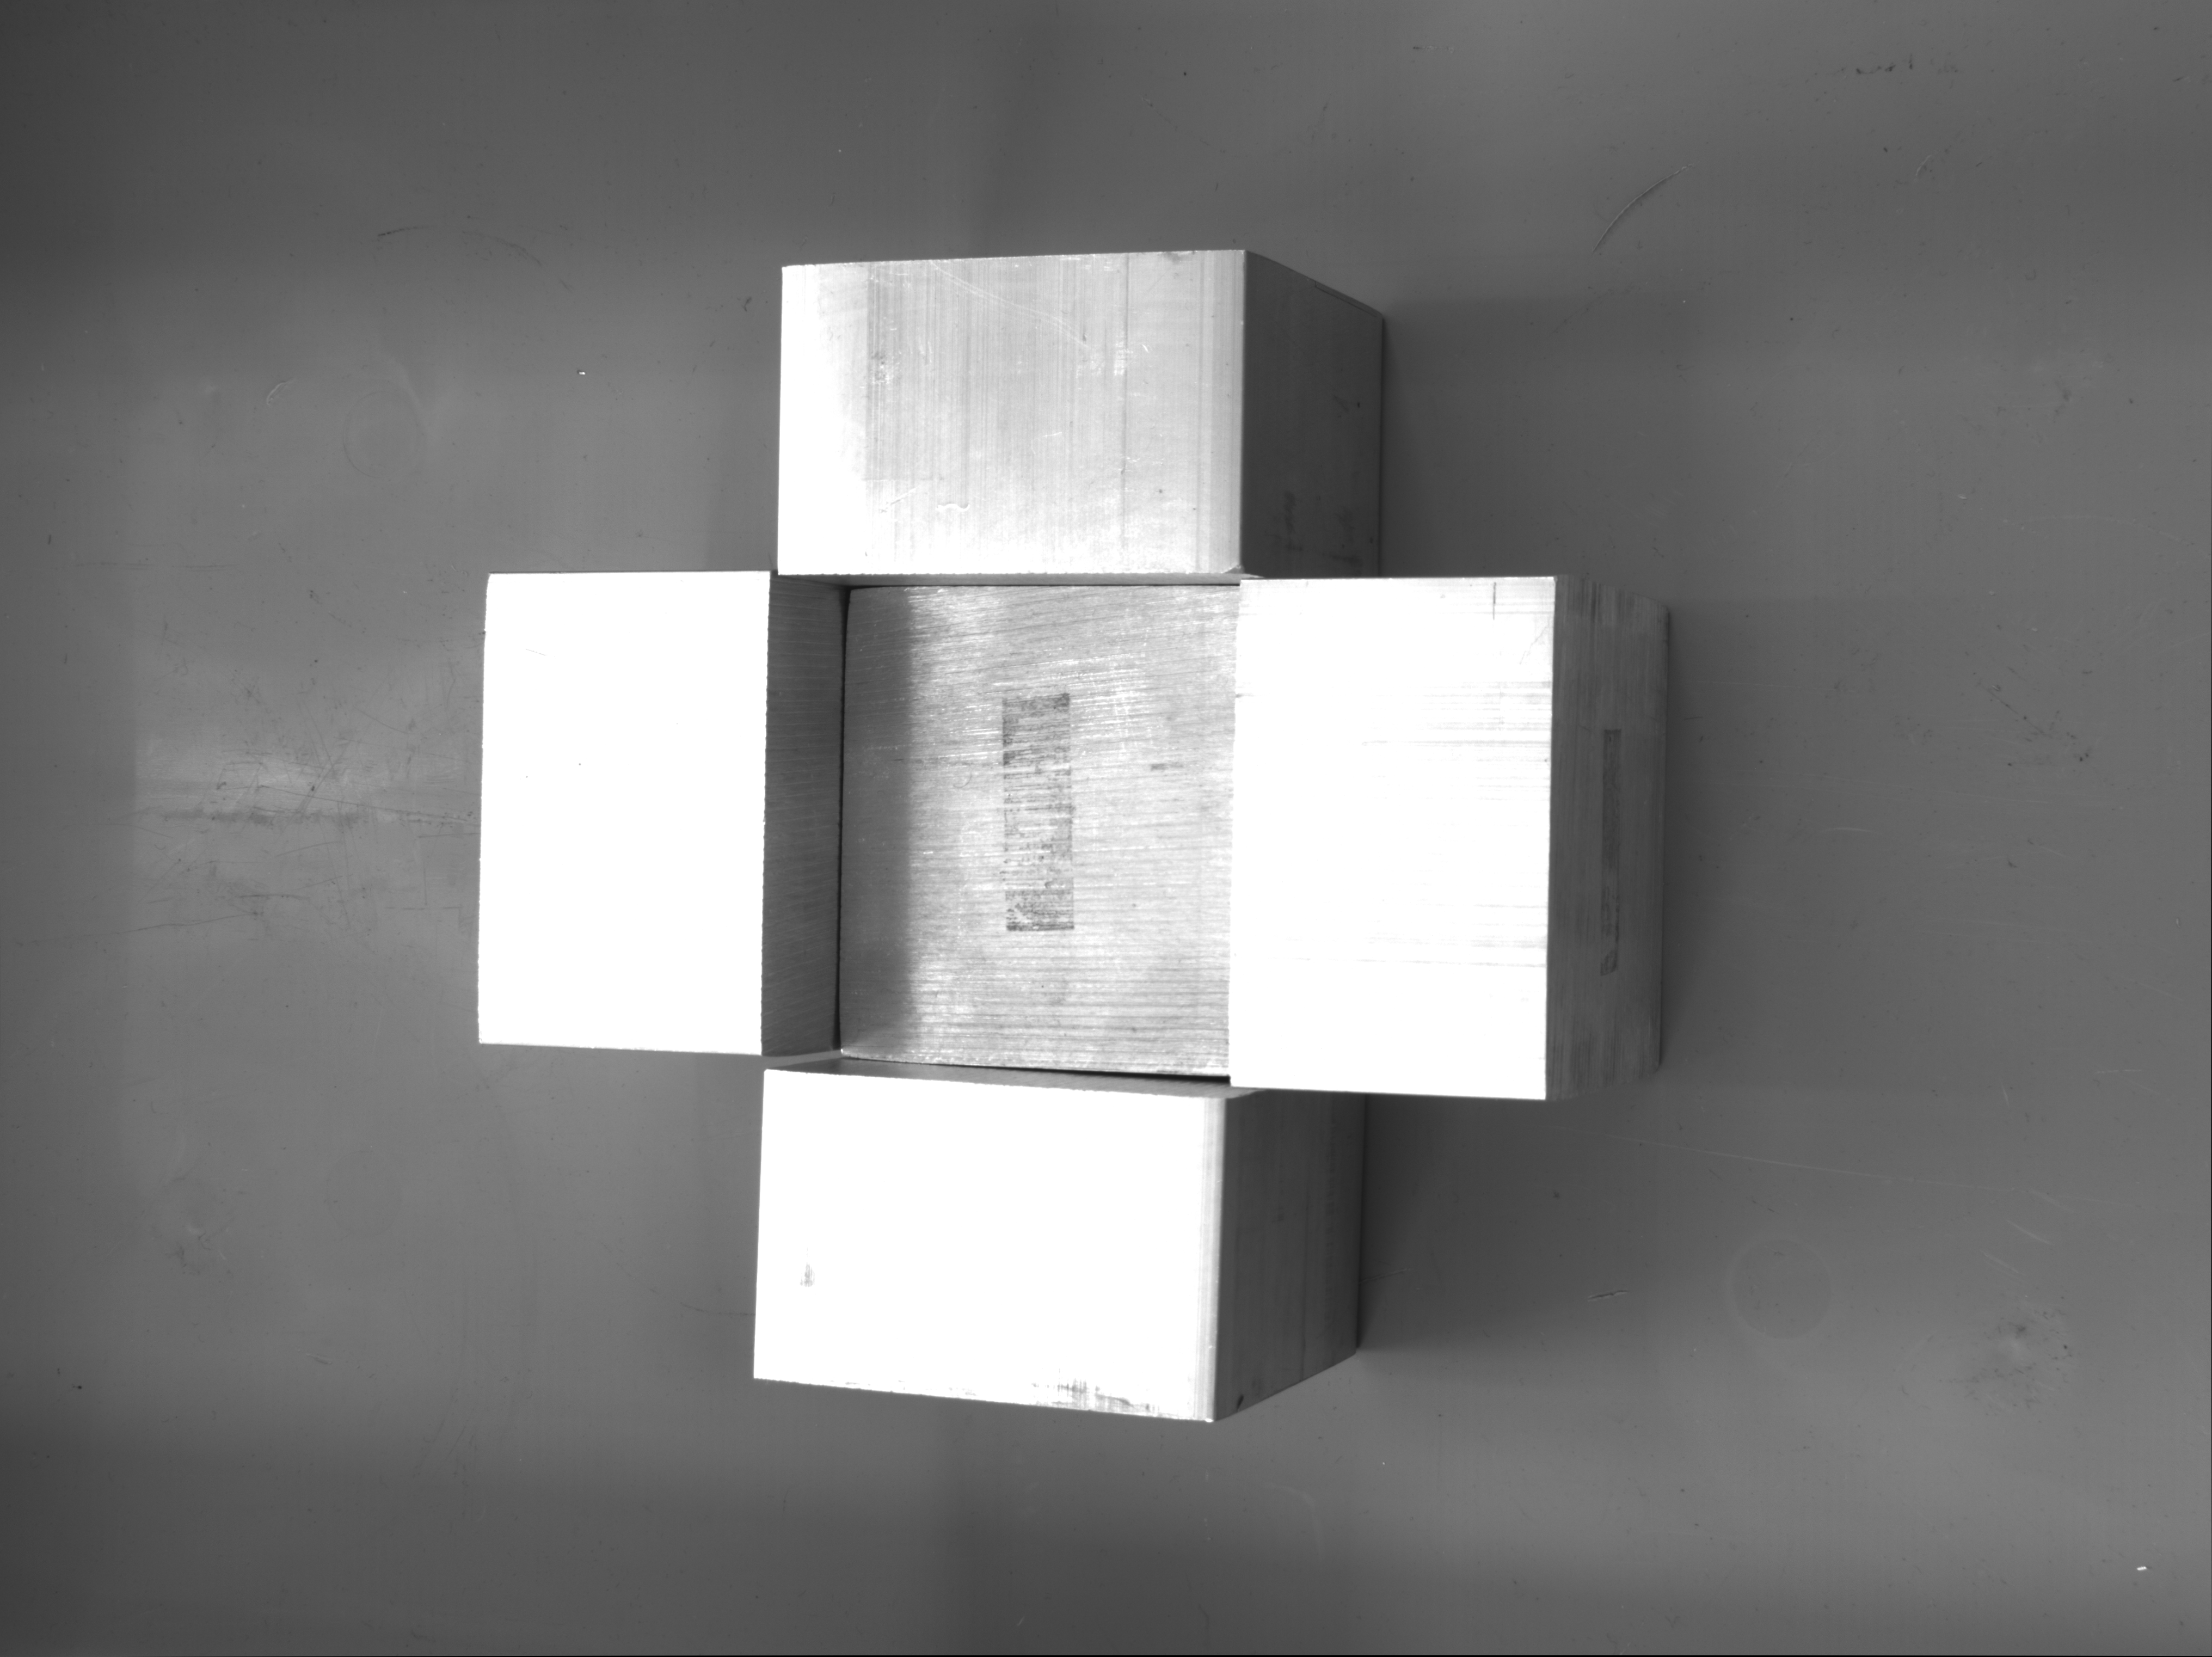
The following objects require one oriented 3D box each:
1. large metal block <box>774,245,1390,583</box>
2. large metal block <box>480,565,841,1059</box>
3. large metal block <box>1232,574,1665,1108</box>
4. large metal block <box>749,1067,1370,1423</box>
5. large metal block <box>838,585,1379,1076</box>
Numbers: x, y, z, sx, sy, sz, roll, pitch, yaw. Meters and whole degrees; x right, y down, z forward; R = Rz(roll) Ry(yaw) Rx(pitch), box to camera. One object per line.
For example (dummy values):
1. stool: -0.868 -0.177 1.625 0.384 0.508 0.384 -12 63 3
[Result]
1. large metal block: -0.002 -0.065 0.616 0.080 0.080 0.050 1 90 20
2. large metal block: -0.067 -0.003 0.641 0.050 0.080 0.080 1 90 20
3. large metal block: 0.057 0.002 0.596 0.050 0.080 0.080 1 90 20
4. large metal block: -0.006 0.066 0.618 0.080 0.080 0.050 2 91 20
5. large metal block: 0.001 0.000 0.630 0.080 0.050 0.080 1 90 20
